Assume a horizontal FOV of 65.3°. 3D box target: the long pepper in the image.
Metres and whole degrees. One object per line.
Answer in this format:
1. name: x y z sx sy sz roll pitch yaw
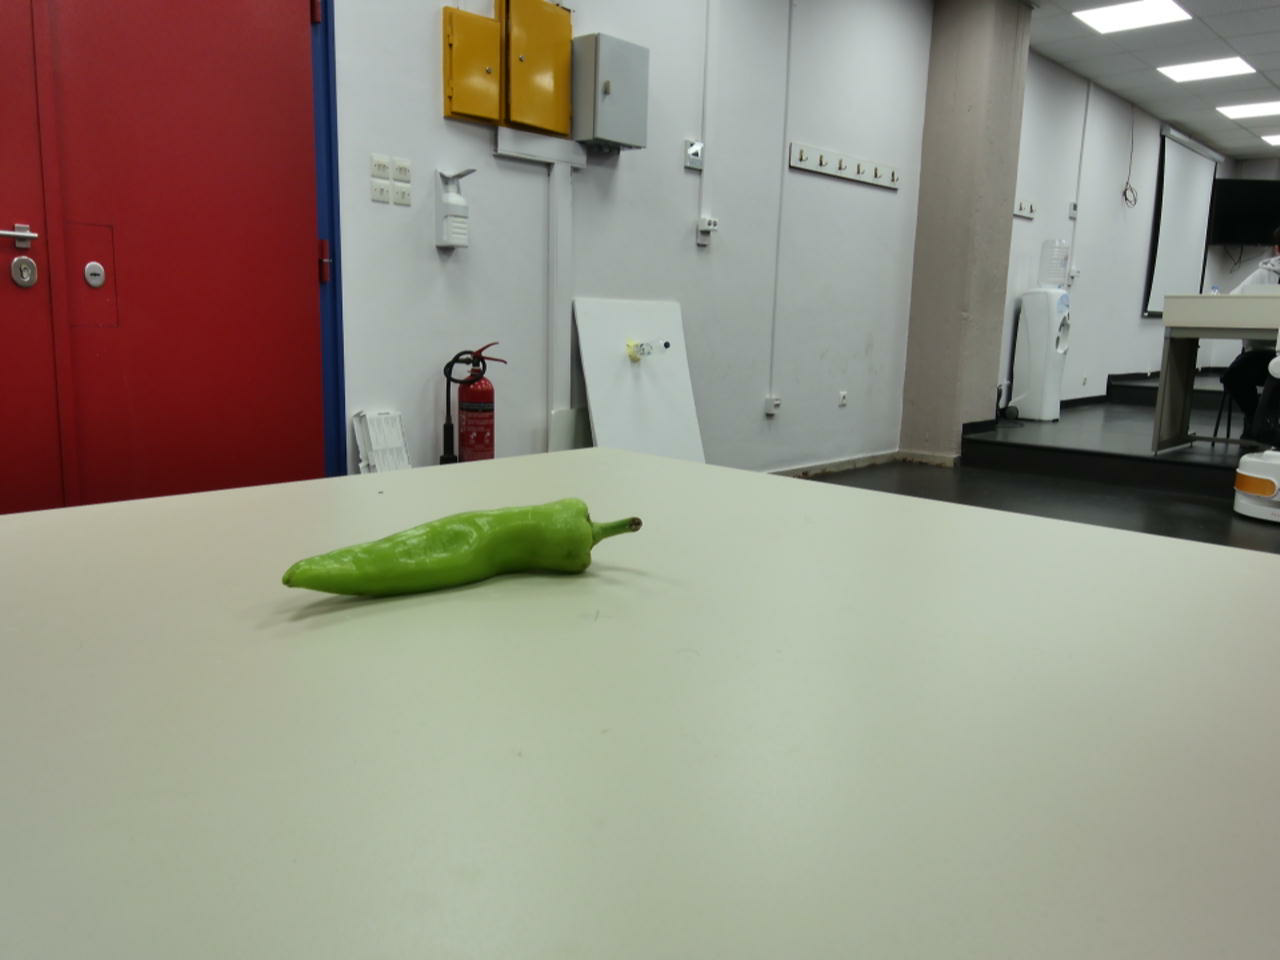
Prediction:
1. long pepper: -0.102 0.039 0.572 0.204 0.045 0.065 -5 9 -31
